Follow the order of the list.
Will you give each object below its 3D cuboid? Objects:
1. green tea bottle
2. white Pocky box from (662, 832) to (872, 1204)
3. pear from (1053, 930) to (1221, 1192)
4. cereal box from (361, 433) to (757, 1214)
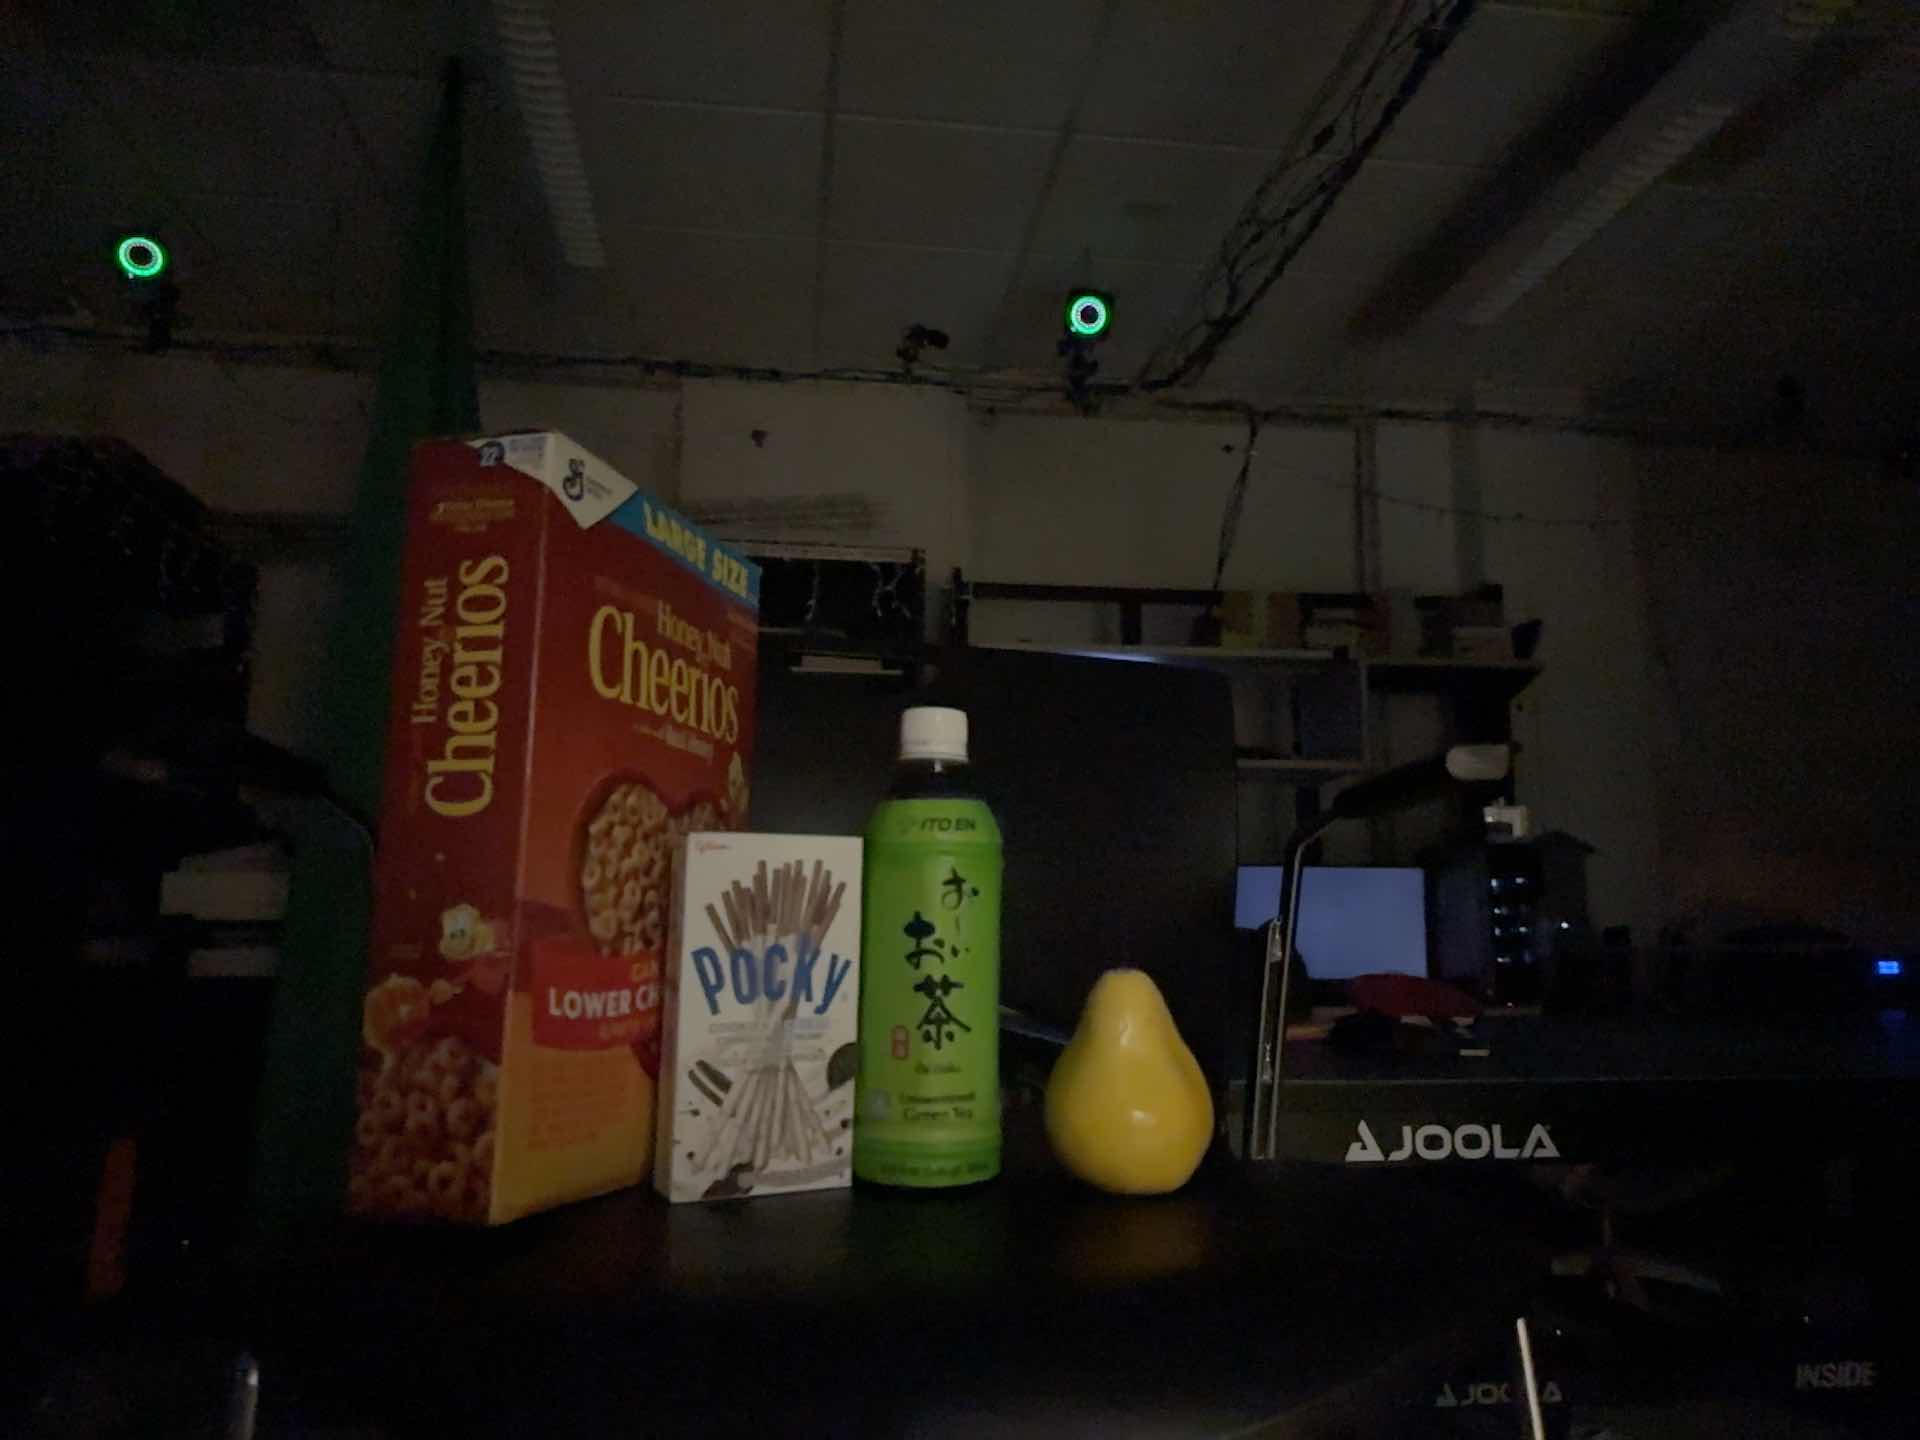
[{"bbox_3d":[-0.011,0.101,0.623,0.073,0.212,0.073,-2,-7,0],"label":"green tea bottle"},{"bbox_3d":[-0.084,0.127,0.589,0.084,0.154,0.028,4,-3,-26],"label":"white Pocky box"},{"bbox_3d":[0.077,0.152,0.607,0.080,0.111,0.080,-3,-12,-1],"label":"pear"},{"bbox_3d":[-0.168,0.047,0.620,0.065,0.297,0.195,-1,-10,14],"label":"cereal box"}]
